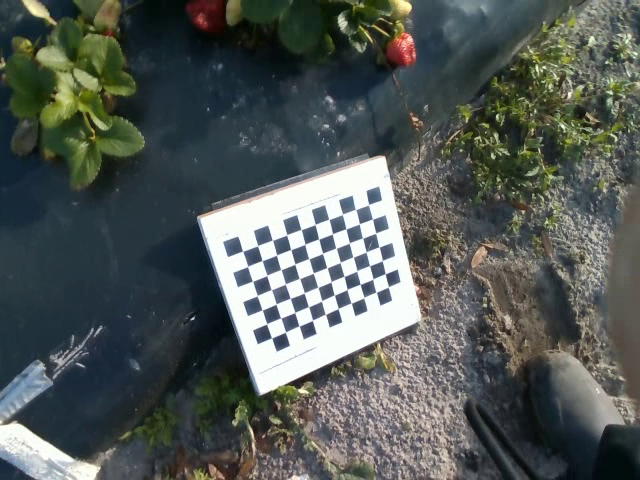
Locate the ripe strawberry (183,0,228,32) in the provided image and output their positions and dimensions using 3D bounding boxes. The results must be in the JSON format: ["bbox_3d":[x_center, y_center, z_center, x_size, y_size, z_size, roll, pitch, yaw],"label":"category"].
[{"bbox_3d":[-0.166,-0.317,0.841,0.057,0.058,0.070,6,17,41],"label":"ripe strawberry"}]

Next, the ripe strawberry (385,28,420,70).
[{"bbox_3d":[0.128,-0.280,0.874,0.047,0.050,0.034,-41,18,-12],"label":"ripe strawberry"}]
